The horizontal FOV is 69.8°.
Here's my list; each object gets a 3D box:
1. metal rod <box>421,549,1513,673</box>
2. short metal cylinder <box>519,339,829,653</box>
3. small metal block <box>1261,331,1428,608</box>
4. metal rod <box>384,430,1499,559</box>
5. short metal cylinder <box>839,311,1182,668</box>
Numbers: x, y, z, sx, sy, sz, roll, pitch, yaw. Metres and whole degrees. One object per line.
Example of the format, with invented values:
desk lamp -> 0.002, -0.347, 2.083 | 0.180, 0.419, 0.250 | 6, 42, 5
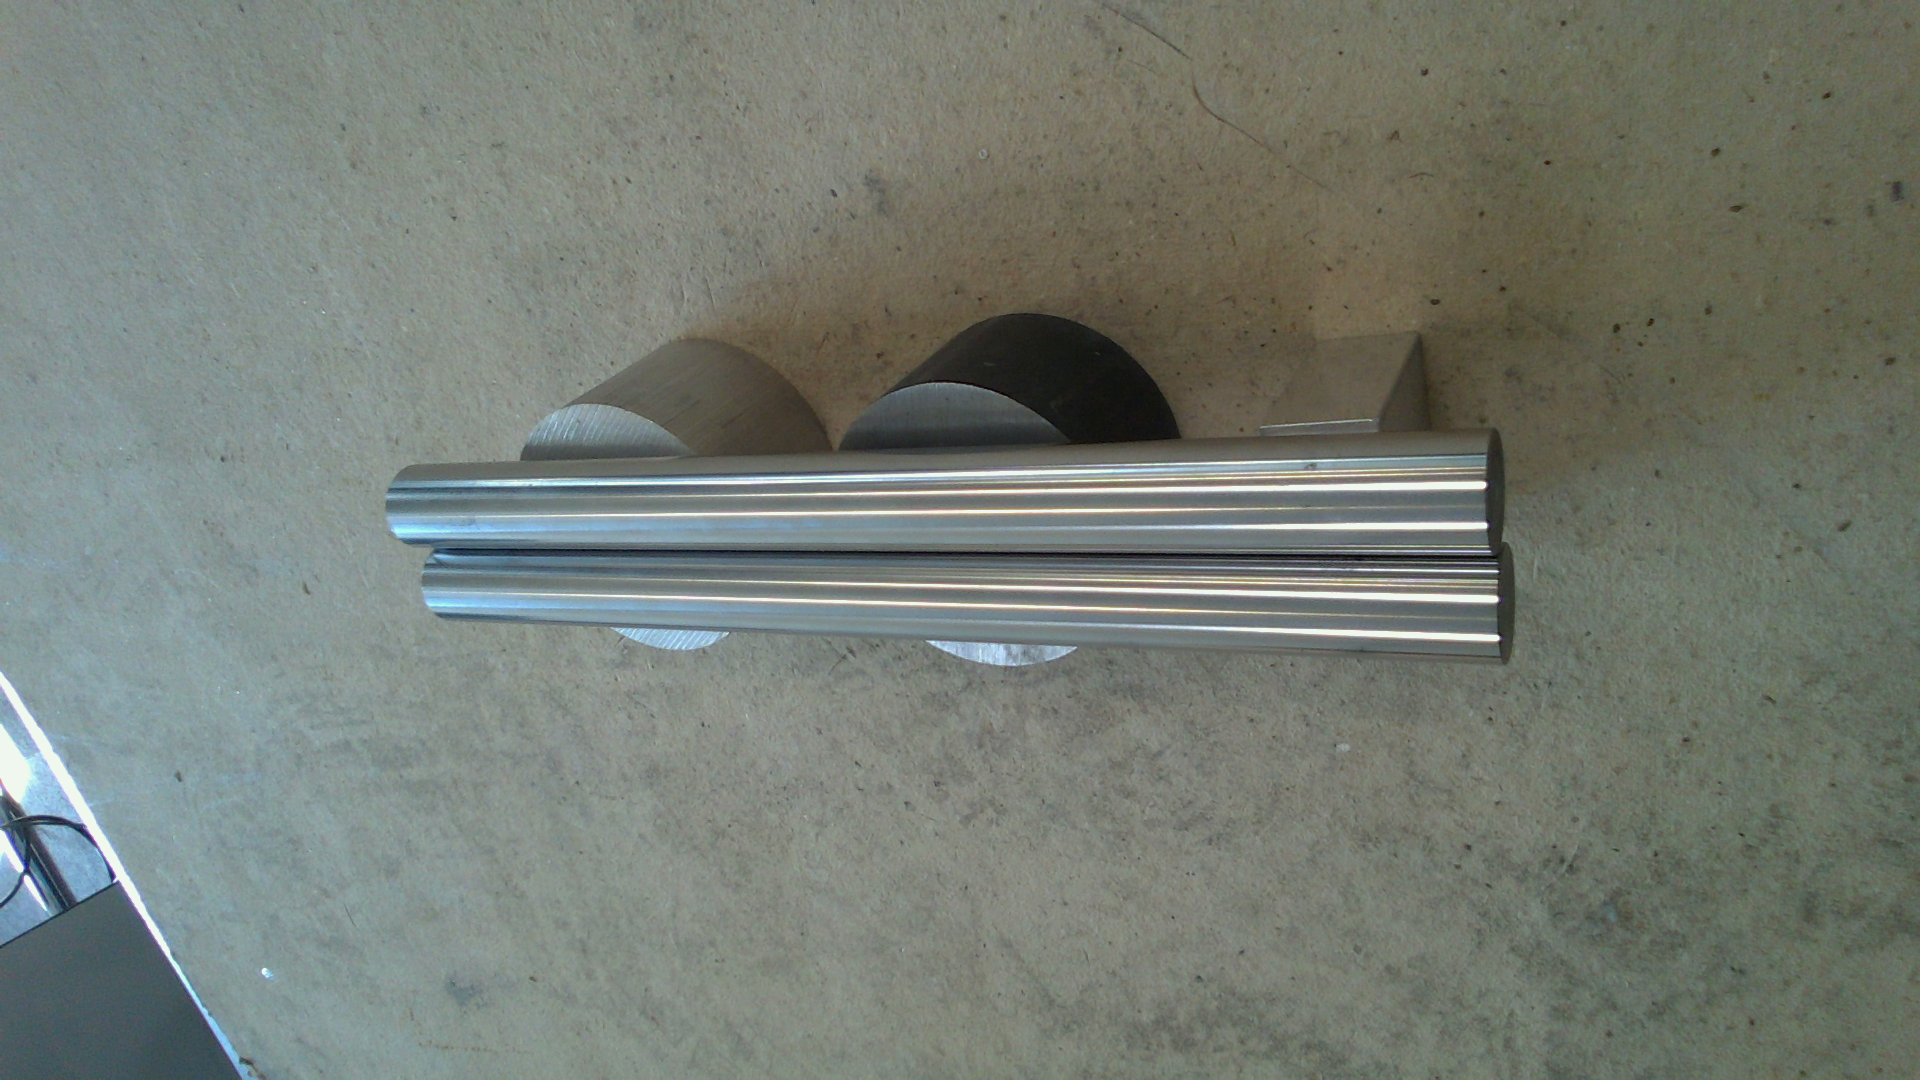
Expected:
metal rod -> -0.022, 0.014, 0.348 | 0.299, 0.025, 0.025 | 0, 119, 28
short metal cylinder -> -0.084, -0.014, 0.413 | 0.080, 0.050, 0.080 | 13, 124, 21
small metal block -> 0.092, -0.015, 0.319 | 0.025, 0.050, 0.050 | -2, 117, 29
metal rod -> -0.028, -0.009, 0.337 | 0.299, 0.025, 0.025 | 0, 119, 28
short metal cylinder -> 0.013, -0.014, 0.362 | 0.080, 0.050, 0.080 | 13, 124, 21
